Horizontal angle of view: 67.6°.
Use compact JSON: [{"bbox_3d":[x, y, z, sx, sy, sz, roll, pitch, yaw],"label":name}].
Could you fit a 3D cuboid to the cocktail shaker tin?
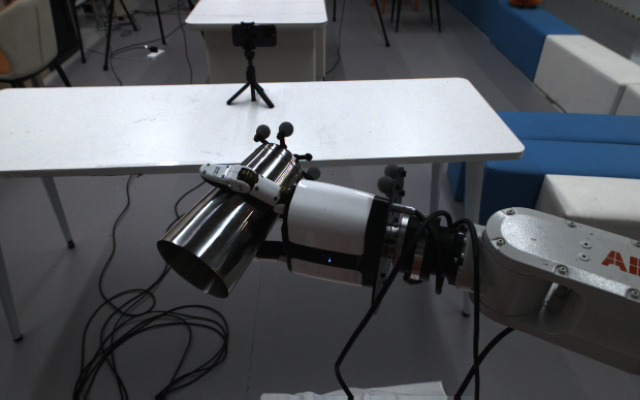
[{"bbox_3d":[-0.087,0.011,0.542,0.093,0.093,0.170,19,54,22],"label":"cocktail shaker tin"}]
